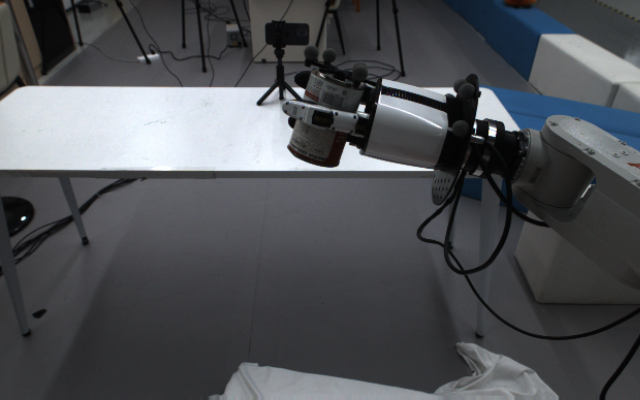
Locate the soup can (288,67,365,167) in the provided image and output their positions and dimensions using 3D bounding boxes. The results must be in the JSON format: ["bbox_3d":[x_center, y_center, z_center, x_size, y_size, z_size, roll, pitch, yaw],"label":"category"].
[{"bbox_3d":[0.008,-0.099,0.585,0.067,0.101,0.067,17,21,-7],"label":"soup can"}]
